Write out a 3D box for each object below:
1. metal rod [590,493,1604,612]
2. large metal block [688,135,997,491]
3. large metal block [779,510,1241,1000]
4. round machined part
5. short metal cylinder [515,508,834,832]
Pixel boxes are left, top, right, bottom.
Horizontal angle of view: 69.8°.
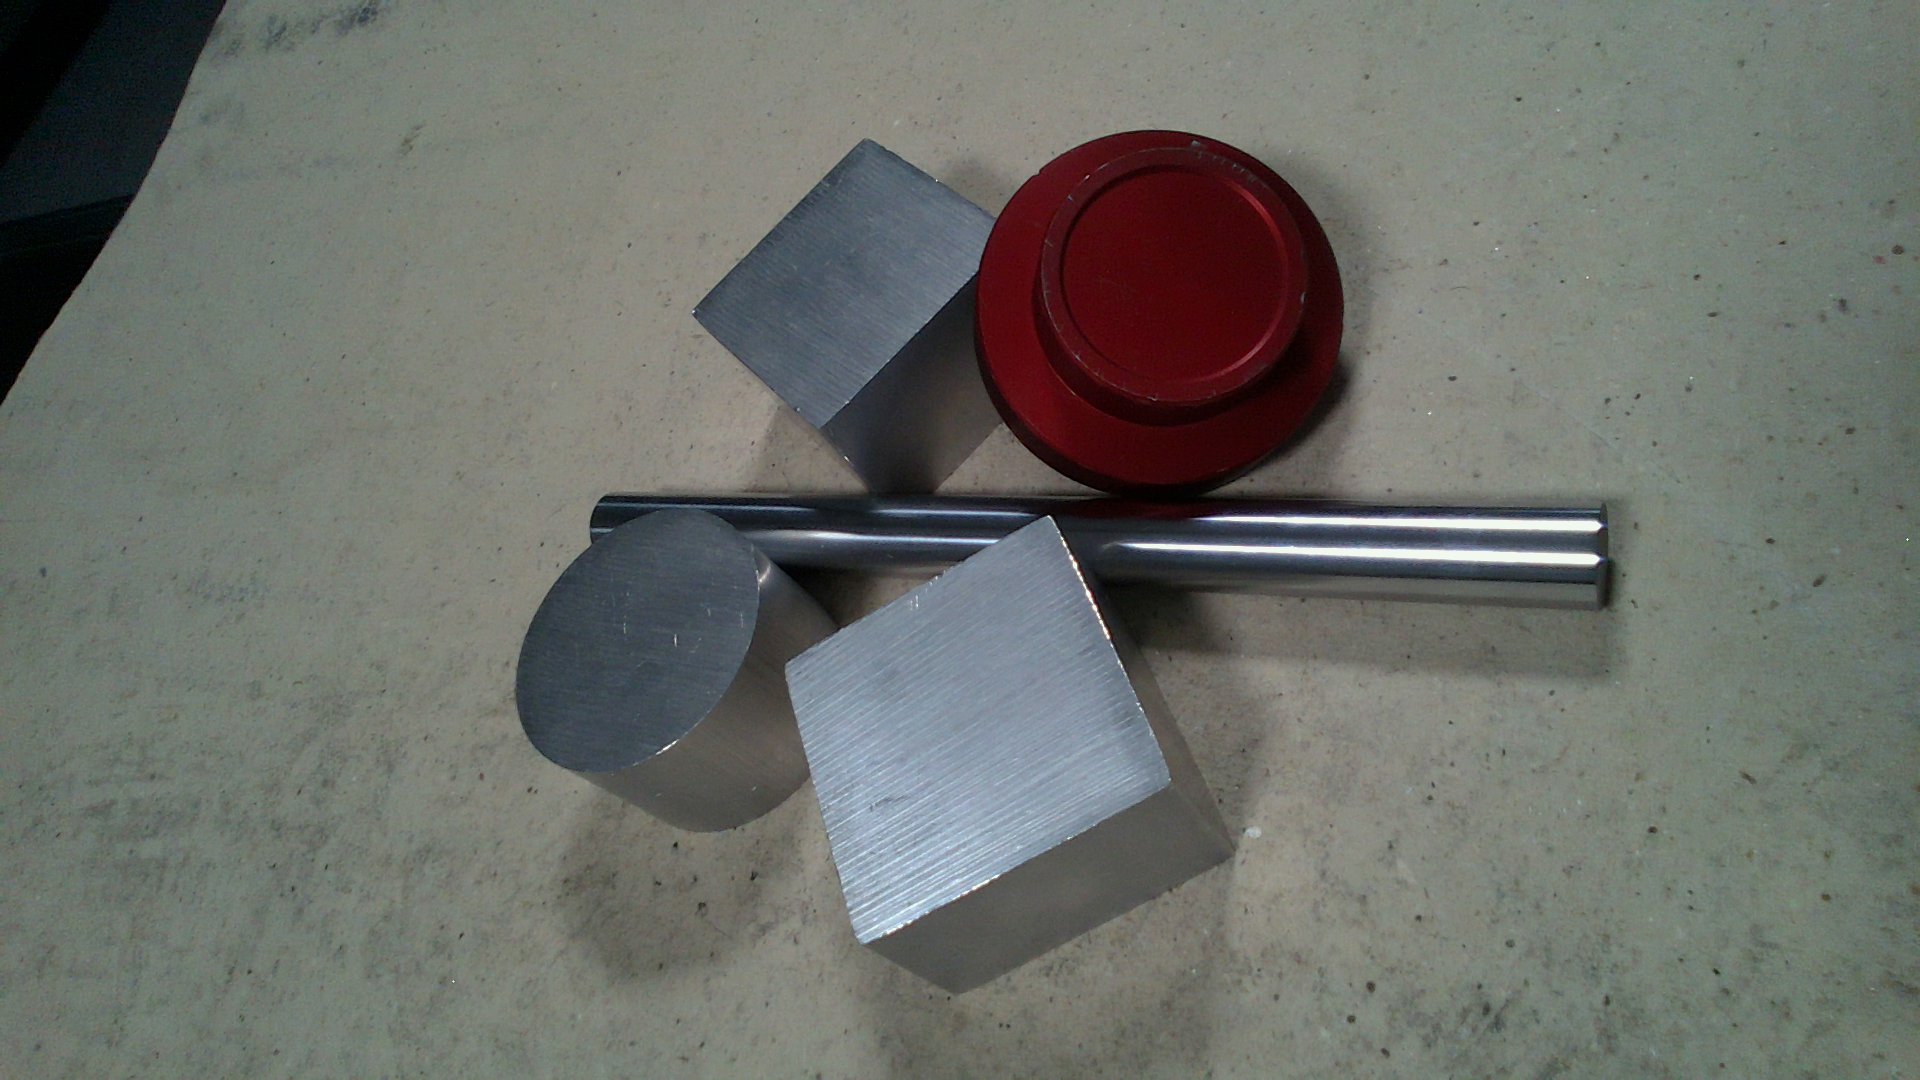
[{"bbox_3d":[0.016,0.000,0.387,0.299,0.025,0.025,2,62,29],"label":"metal rod"},{"bbox_3d":[-0.024,-0.068,0.430,0.080,0.050,0.080,-45,51,-3],"label":"large metal block"},{"bbox_3d":[0.010,0.053,0.339,0.080,0.050,0.080,-29,52,10],"label":"large metal block"},{"bbox_3d":[0.052,-0.064,0.364,0.098,0.042,0.098,0,79,1],"label":"round machined part"},{"bbox_3d":[-0.079,0.038,0.397,0.080,0.050,0.080,-14,56,21],"label":"short metal cylinder"}]
